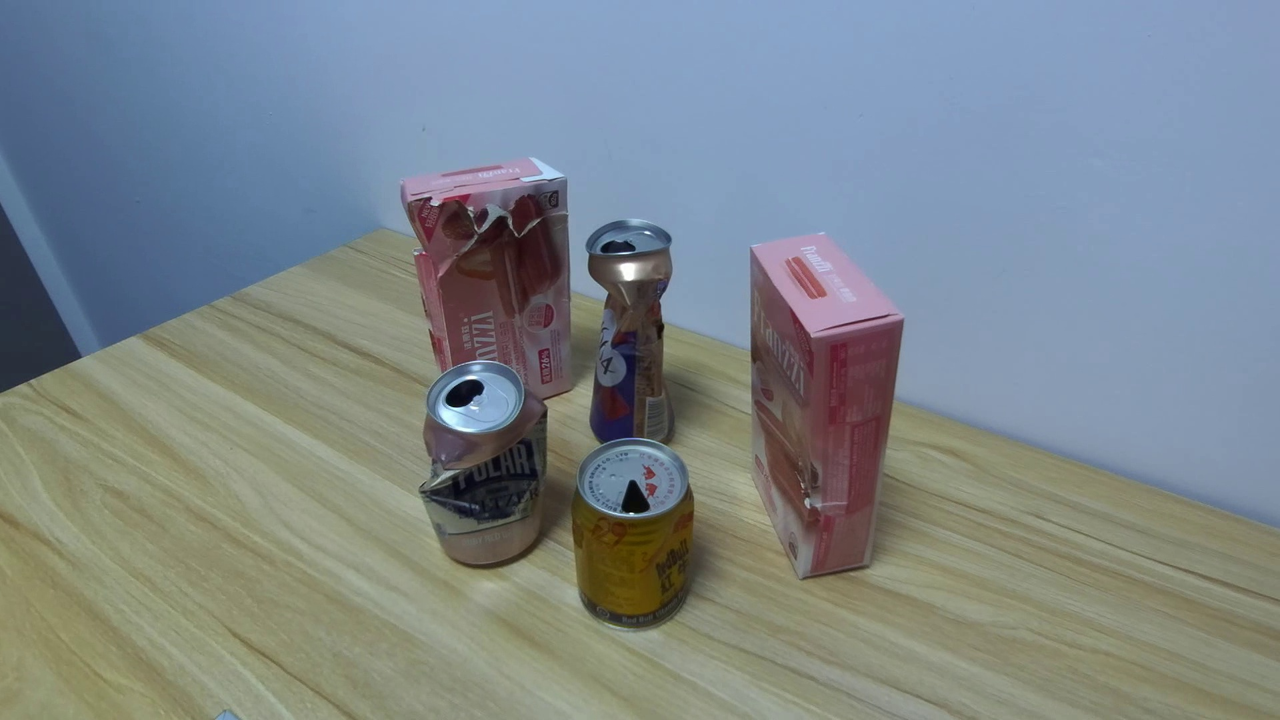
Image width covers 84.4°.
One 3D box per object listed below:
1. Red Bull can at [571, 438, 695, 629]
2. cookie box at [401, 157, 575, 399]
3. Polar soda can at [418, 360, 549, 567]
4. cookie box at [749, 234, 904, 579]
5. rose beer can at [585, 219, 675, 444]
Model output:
[{"bbox_3d":[-0.004,0.098,0.398,0.069,0.092,0.069,0,34,0],"label":"Red Bull can"},{"bbox_3d":[-0.104,-0.046,0.523,0.105,0.186,0.059,-18,38,-22],"label":"cookie box"},{"bbox_3d":[-0.094,0.067,0.423,0.066,0.122,0.071,18,39,16],"label":"Polar soda can"},{"bbox_3d":[0.103,0.034,0.410,0.049,0.188,0.105,-11,37,-4],"label":"cookie box"},{"bbox_3d":[-0.004,-0.012,0.497,0.068,0.162,0.073,-29,42,-36],"label":"rose beer can"}]
